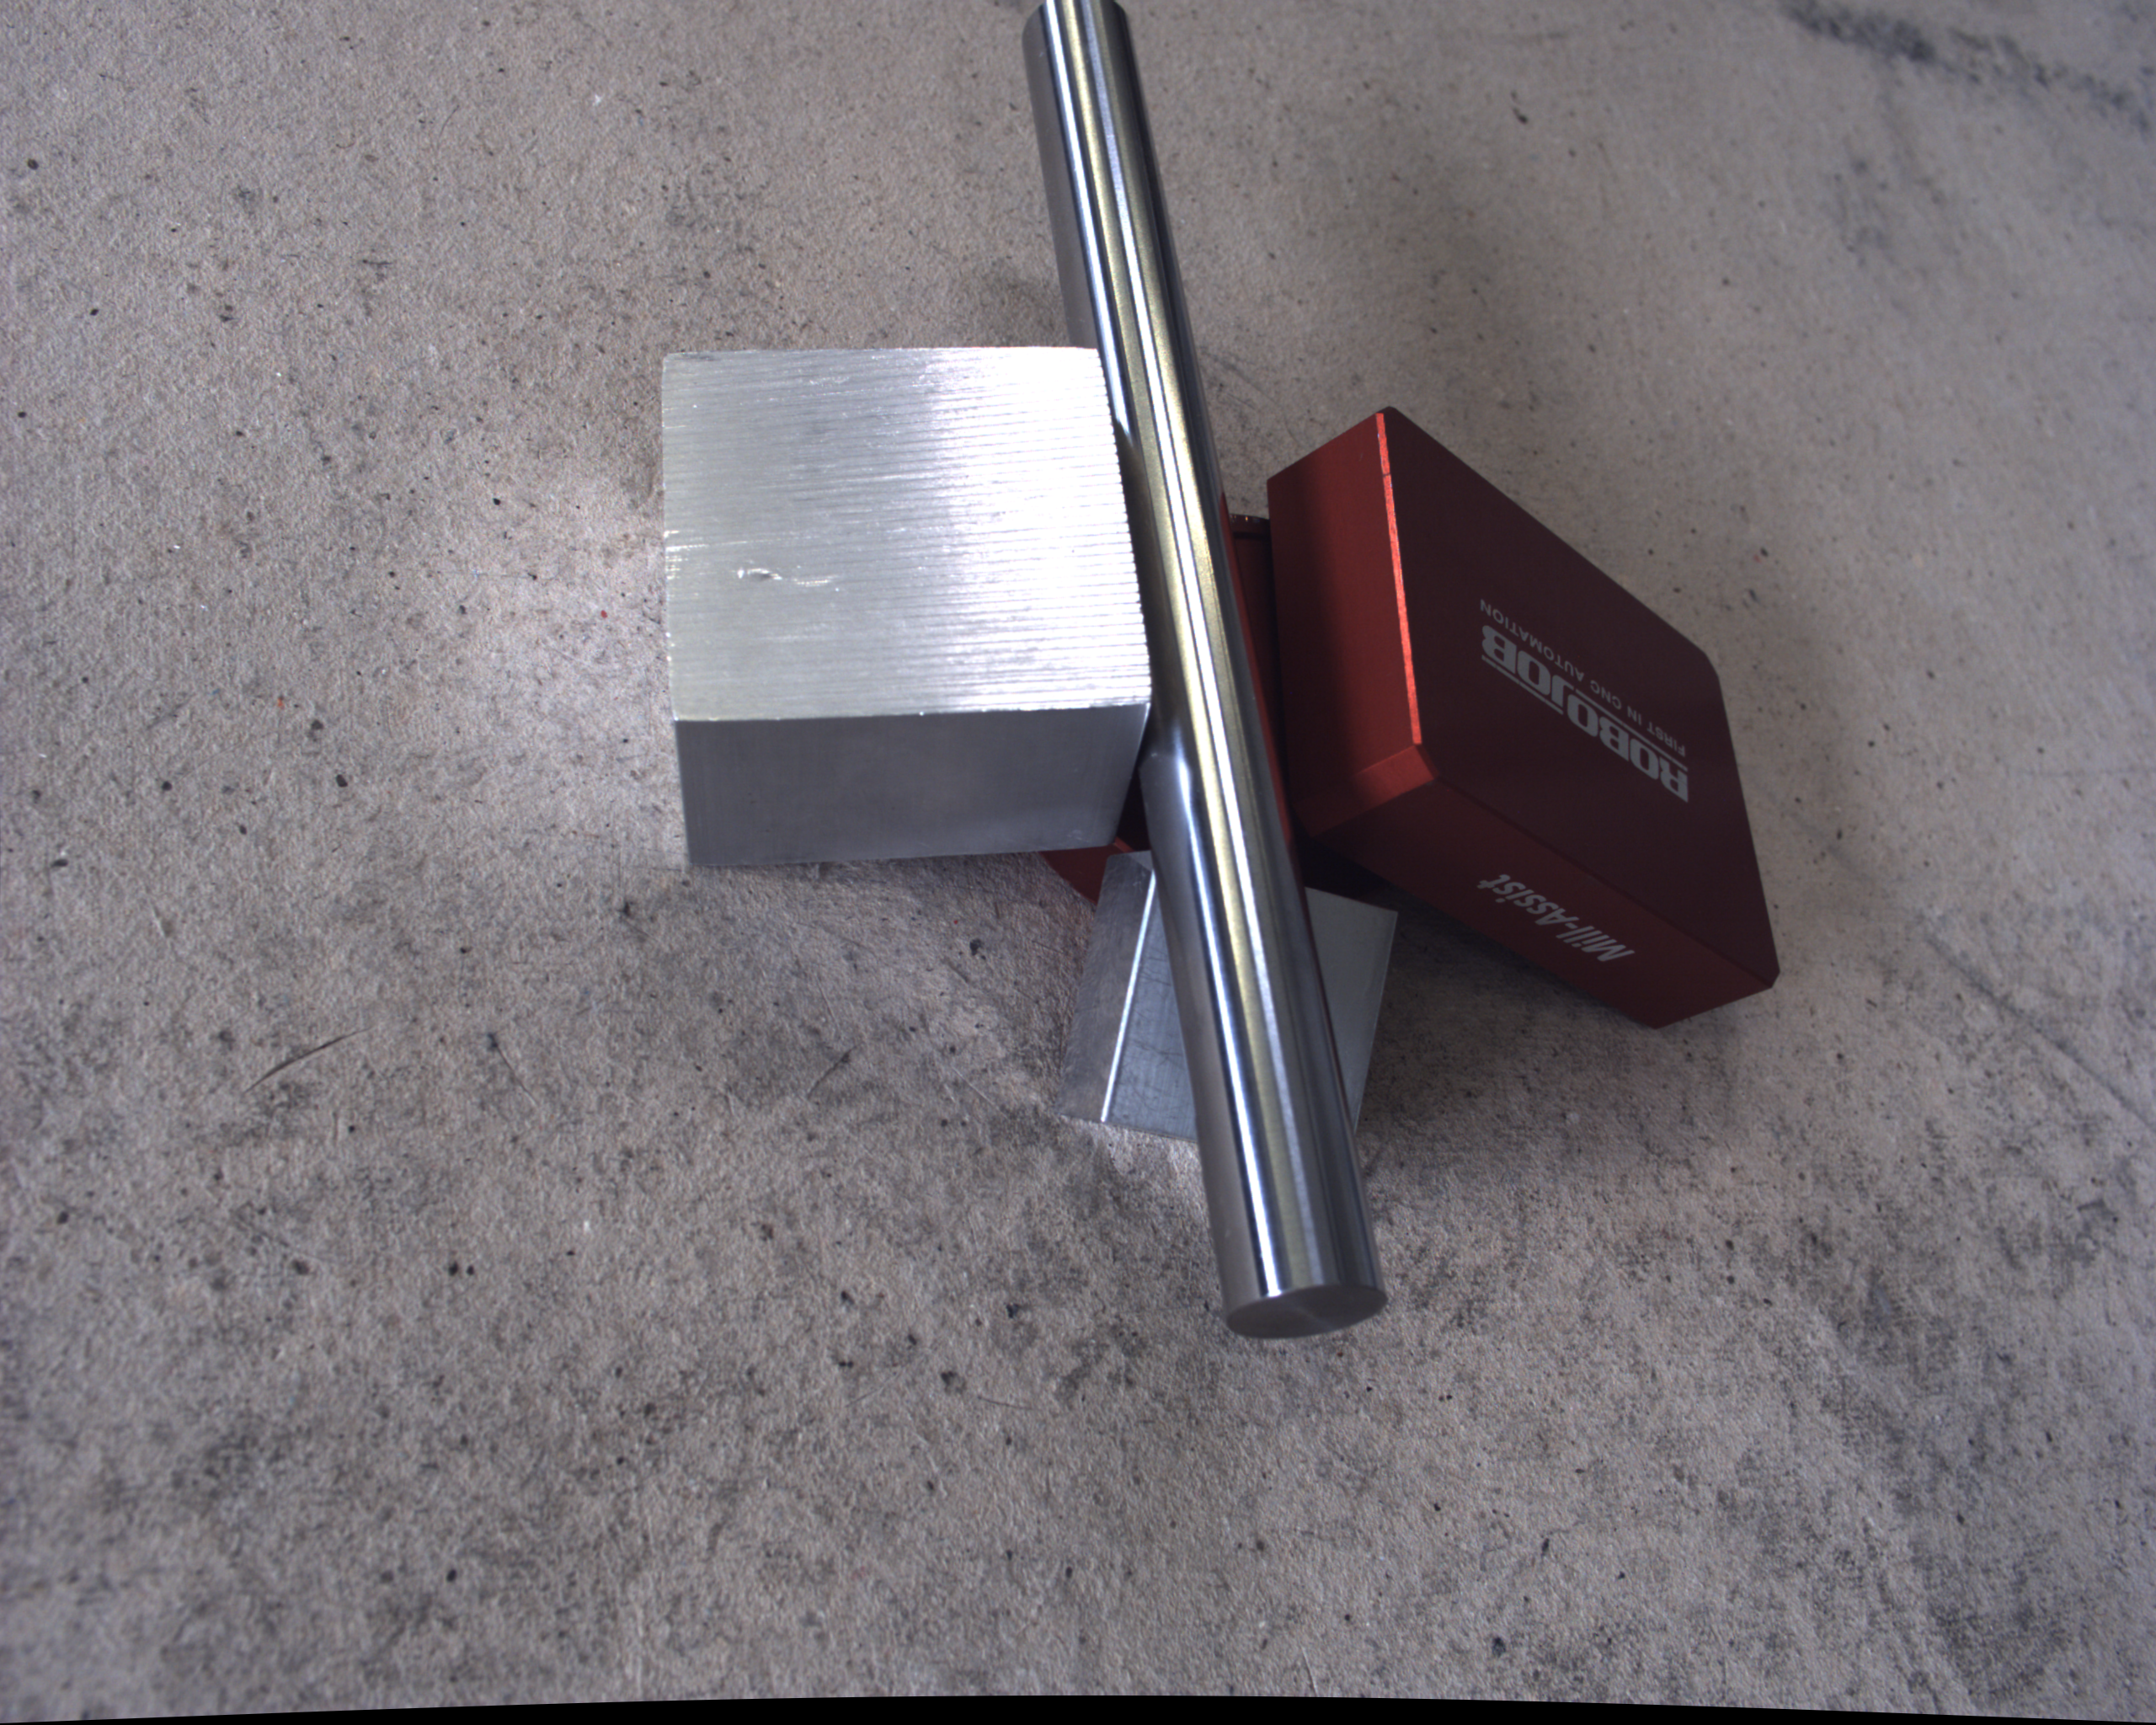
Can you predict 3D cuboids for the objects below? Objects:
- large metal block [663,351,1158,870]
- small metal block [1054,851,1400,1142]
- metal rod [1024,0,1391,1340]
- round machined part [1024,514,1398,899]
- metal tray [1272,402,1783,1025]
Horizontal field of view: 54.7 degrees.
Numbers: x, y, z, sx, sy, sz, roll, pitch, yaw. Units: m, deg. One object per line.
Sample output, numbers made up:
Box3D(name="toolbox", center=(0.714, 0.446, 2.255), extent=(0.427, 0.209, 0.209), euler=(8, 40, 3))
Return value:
Box3D(name="large metal block", center=(-0.034, -0.047, 0.386), extent=(0.081, 0.050, 0.080), euler=(-2, 61, -9))
Box3D(name="small metal block", center=(0.028, 0.028, 0.390), extent=(0.050, 0.025, 0.050), euler=(14, 81, -20))
Box3D(name="metal rod", center=(0.018, -0.058, 0.397), extent=(0.025, 0.025, 0.299), euler=(8, 56, -24))
Box3D(name="round machined part", center=(0.034, -0.033, 0.432), extent=(0.099, 0.042, 0.098), euler=(14, 56, -21))
Box3D(name="metal tray", center=(0.097, -0.028, 0.442), extent=(0.131, 0.030, 0.090), euler=(26, 51, -38))
